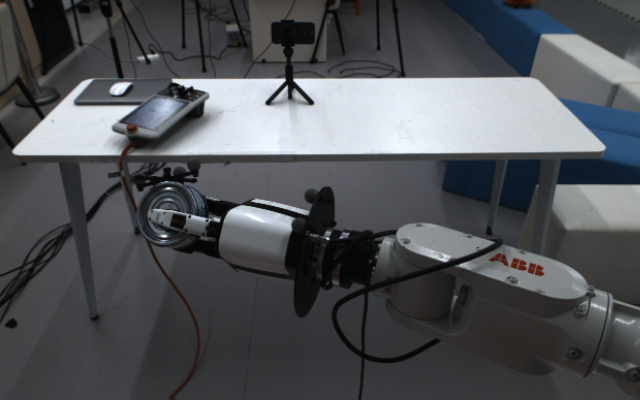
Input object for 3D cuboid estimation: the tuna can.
[{"bbox_3d":[-0.186,0.025,0.617,0.085,0.085,0.034,12,-6,14],"label":"tuna can"}]
